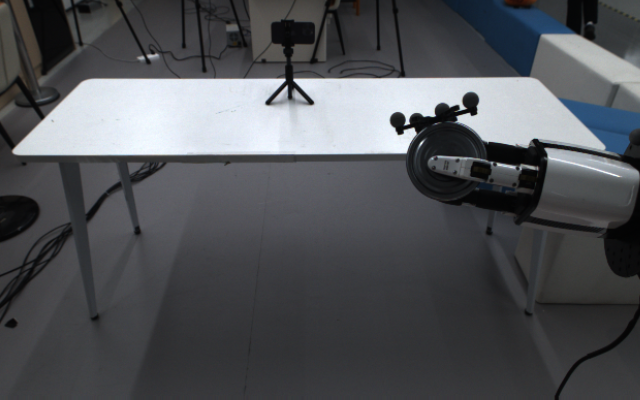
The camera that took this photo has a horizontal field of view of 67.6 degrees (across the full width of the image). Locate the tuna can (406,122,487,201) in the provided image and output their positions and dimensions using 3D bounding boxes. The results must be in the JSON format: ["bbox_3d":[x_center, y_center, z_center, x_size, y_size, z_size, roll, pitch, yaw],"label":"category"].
[{"bbox_3d":[0.140,-0.044,0.529,0.085,0.085,0.034,12,3,14],"label":"tuna can"}]
